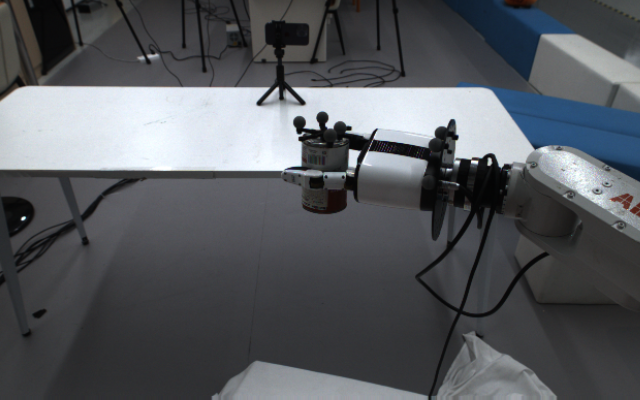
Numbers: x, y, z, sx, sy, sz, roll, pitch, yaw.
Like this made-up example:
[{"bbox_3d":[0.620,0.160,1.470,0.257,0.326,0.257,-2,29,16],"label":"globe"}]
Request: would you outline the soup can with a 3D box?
[{"bbox_3d":[0.007,-0.040,0.681,0.067,0.101,0.067,1,25,0],"label":"soup can"}]
